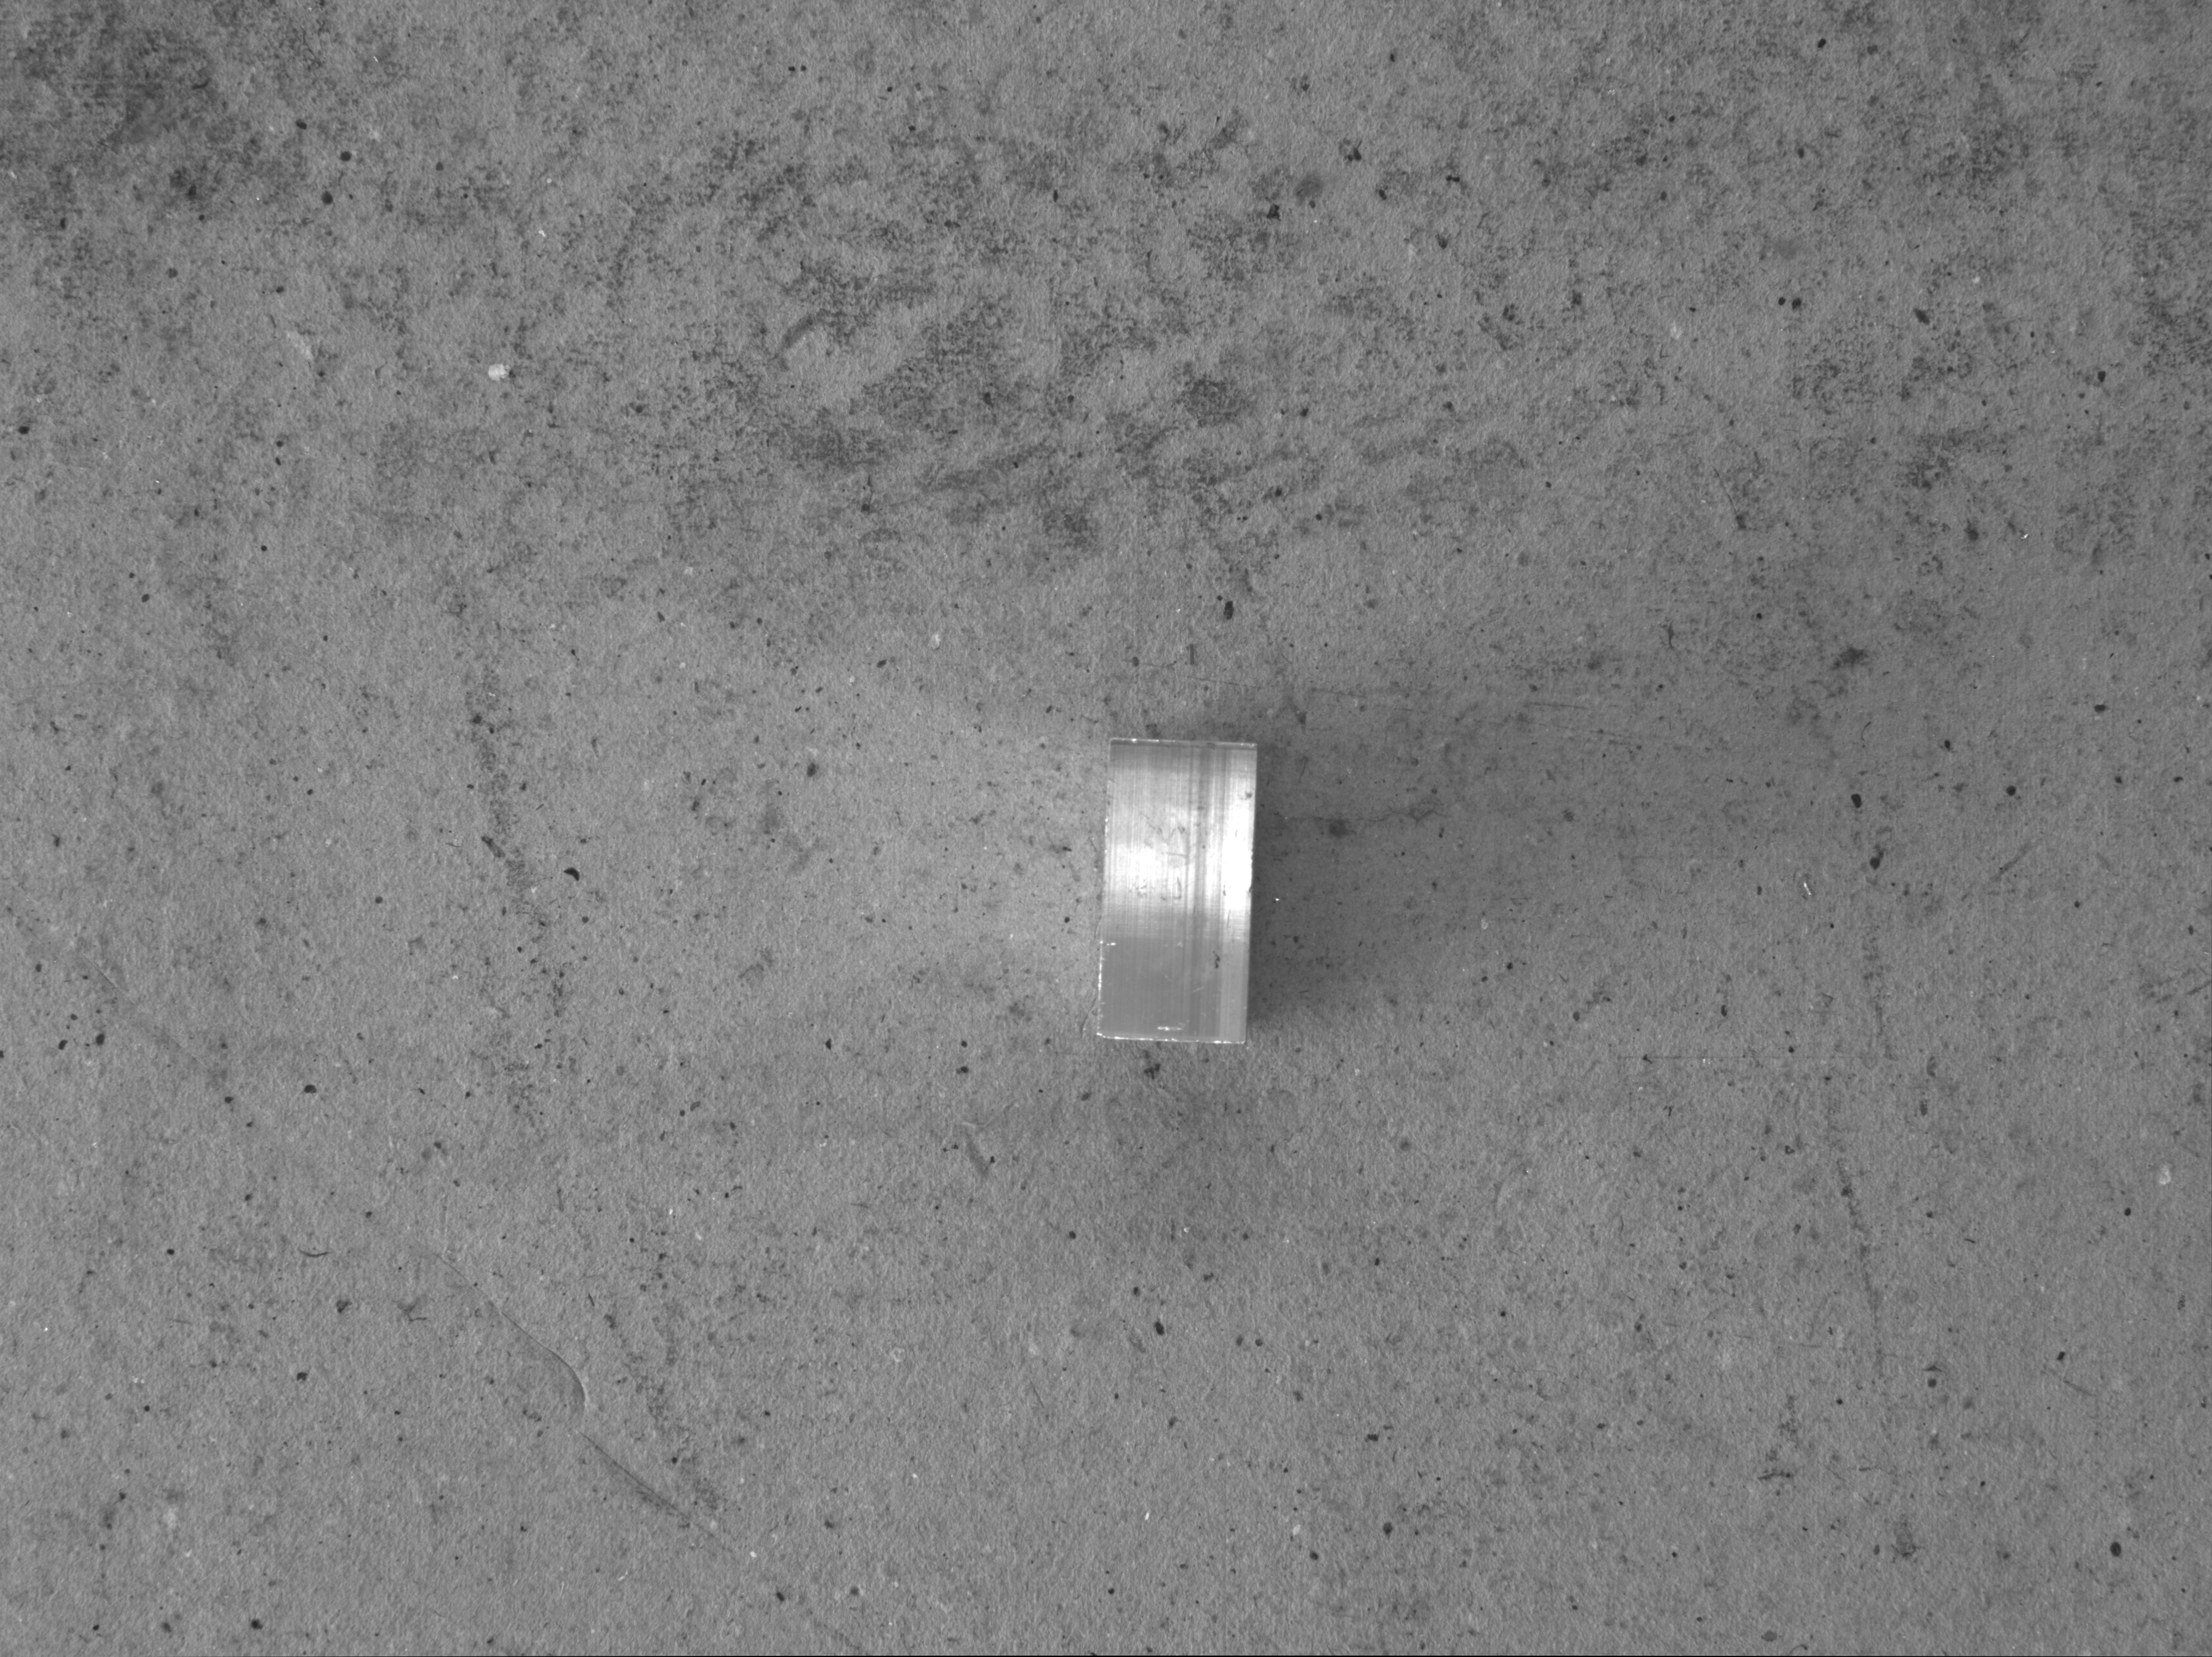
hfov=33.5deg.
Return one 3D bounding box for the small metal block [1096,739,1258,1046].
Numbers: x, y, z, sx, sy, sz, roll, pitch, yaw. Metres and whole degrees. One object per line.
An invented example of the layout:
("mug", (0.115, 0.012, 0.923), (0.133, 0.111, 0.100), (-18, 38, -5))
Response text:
("small metal block", (0.012, 0.011, 0.634), (0.025, 0.050, 0.050), (2, 90, -1))
